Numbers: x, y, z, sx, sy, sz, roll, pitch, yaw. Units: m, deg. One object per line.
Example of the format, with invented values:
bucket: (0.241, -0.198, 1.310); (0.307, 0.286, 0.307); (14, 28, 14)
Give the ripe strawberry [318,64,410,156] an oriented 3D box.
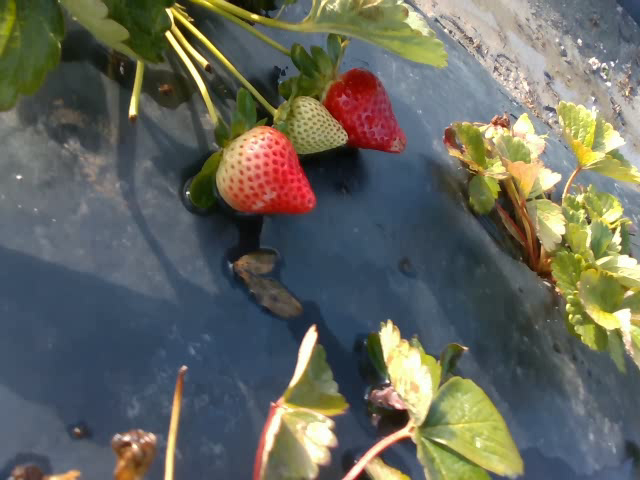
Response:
ripe strawberry: (0.029, -0.069, 0.358); (0.065, 0.048, 0.050); (46, -5, -14)
